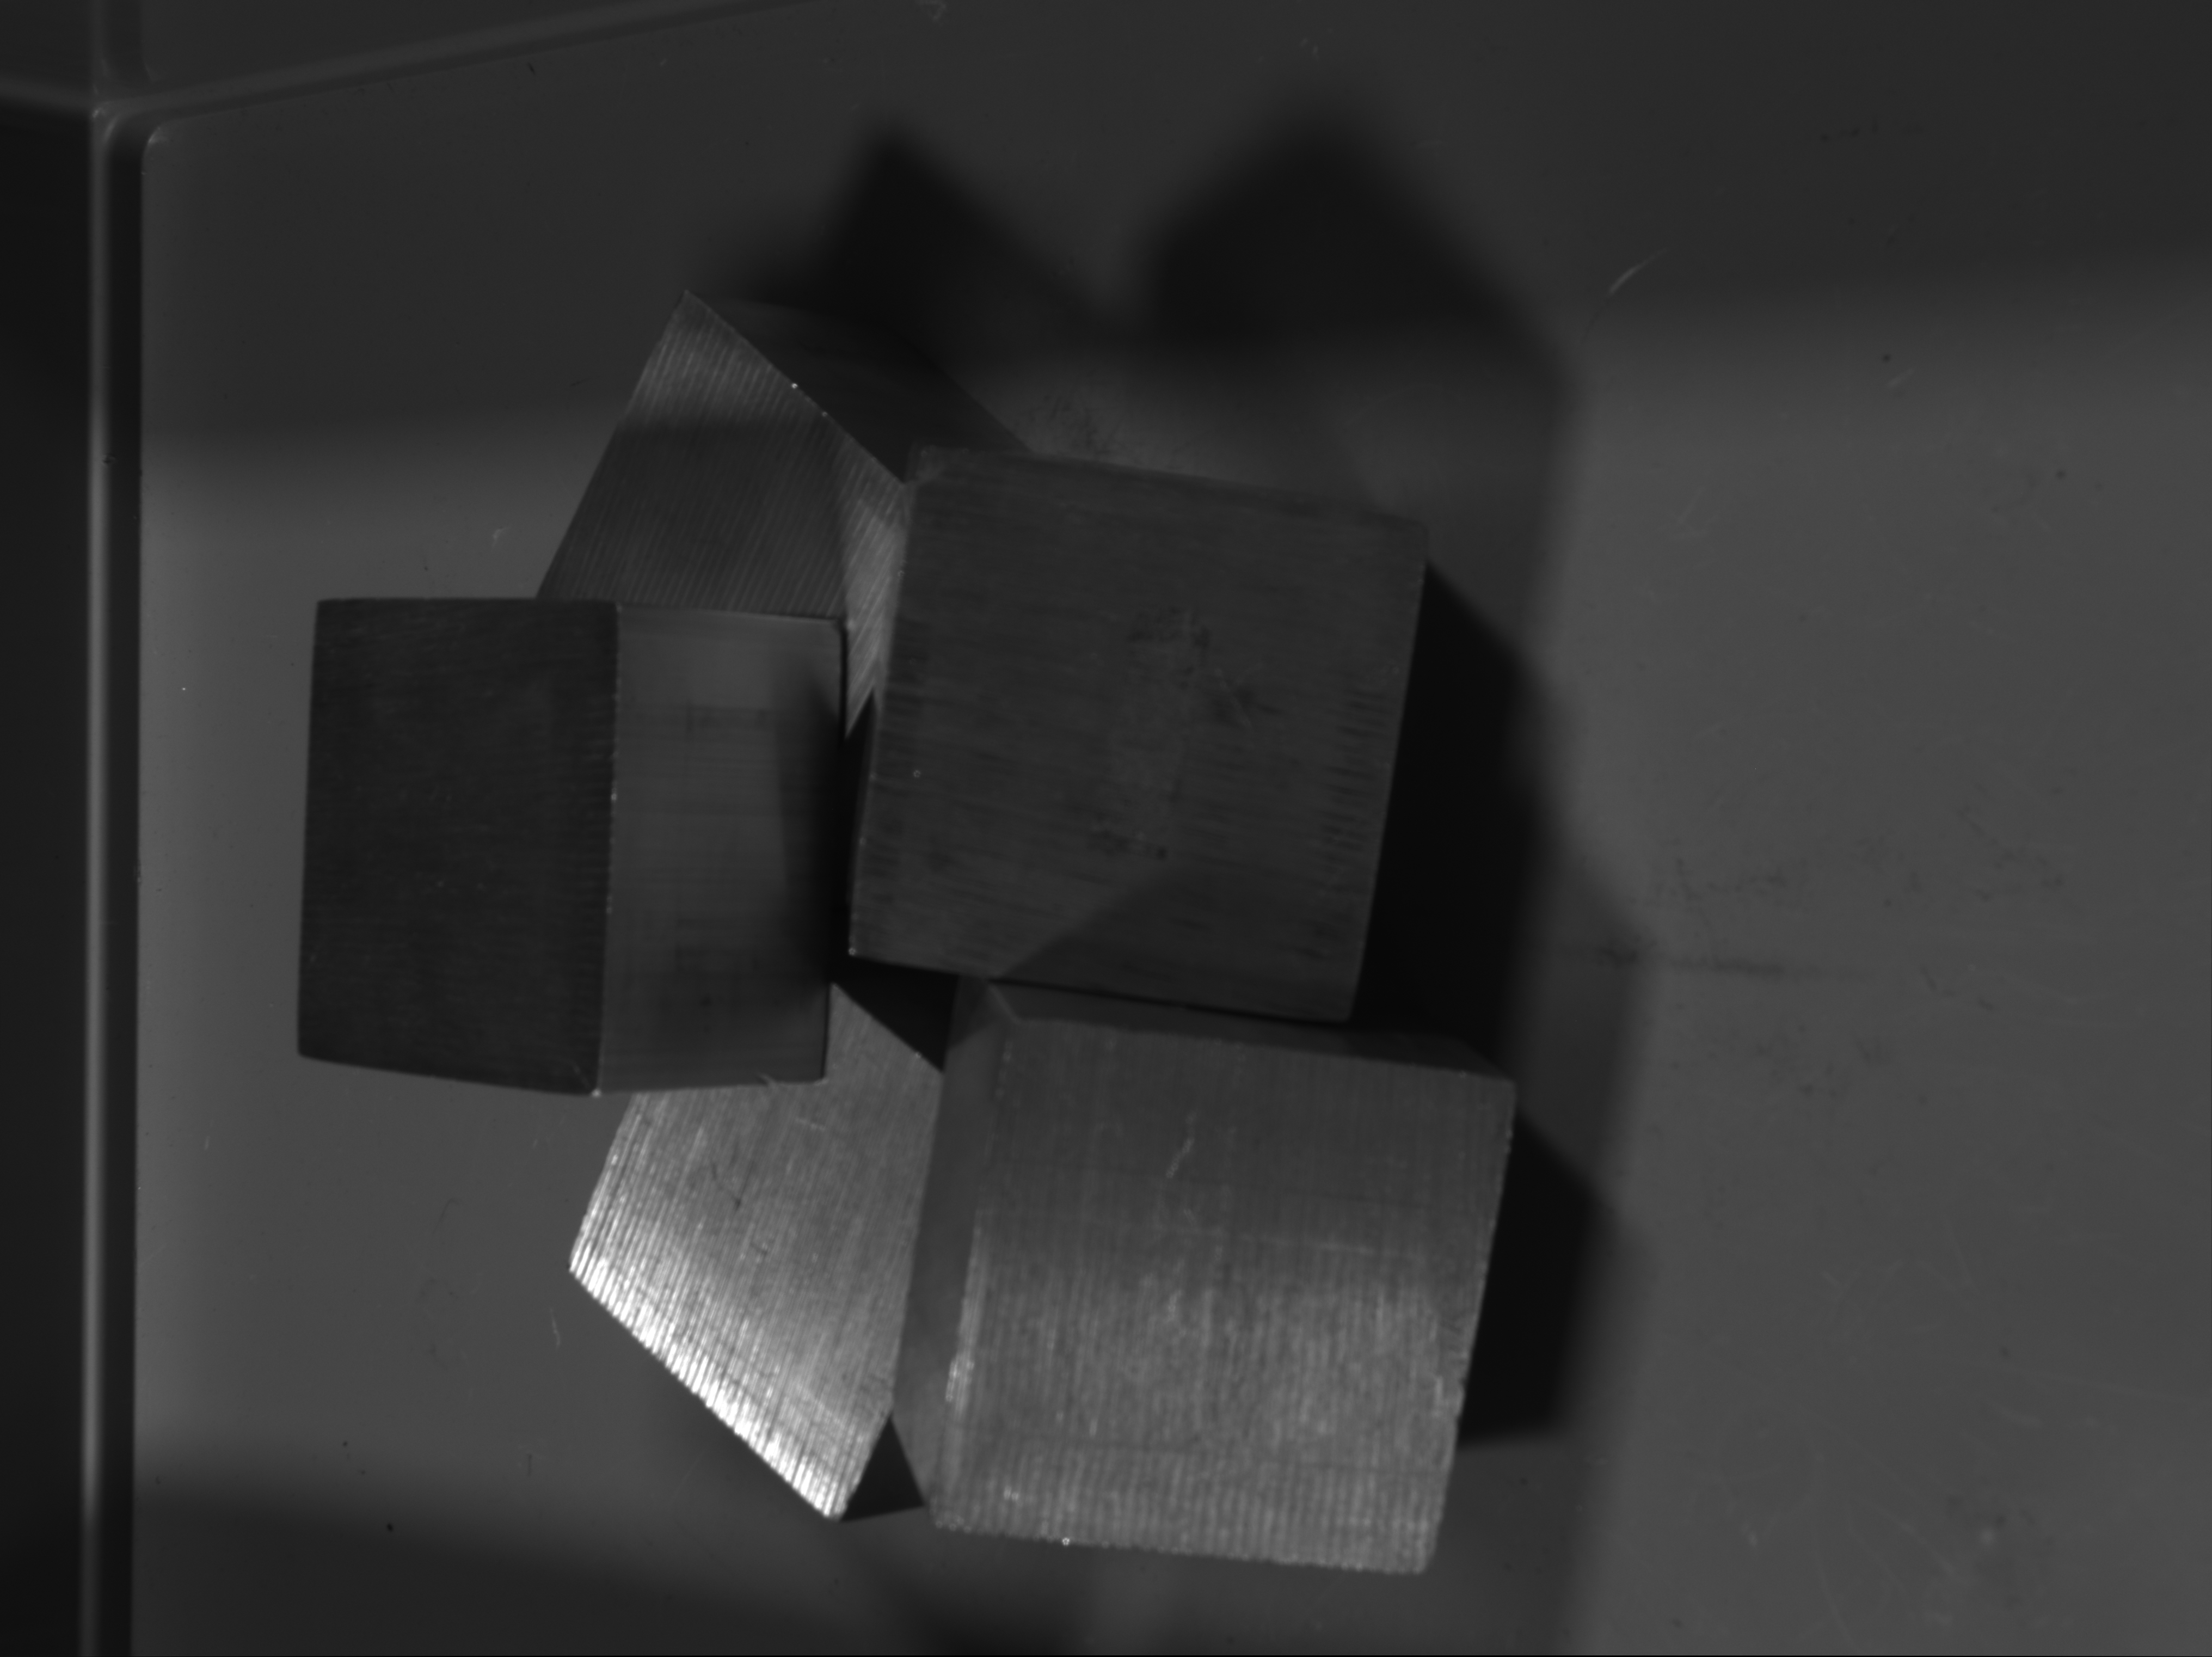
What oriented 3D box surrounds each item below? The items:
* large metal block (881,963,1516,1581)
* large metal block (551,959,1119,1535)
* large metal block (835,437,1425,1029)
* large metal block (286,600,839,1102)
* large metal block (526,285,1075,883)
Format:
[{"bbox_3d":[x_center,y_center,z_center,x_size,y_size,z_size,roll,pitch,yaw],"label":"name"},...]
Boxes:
[{"bbox_3d":[0.013,0.069,0.580,0.050,0.080,0.080,-140,58,-76],"label":"large metal block"},{"bbox_3d":[-0.043,0.065,0.650,0.080,0.050,0.080,36,112,33],"label":"large metal block"},{"bbox_3d":[0.002,-0.017,0.590,0.080,0.050,0.080,8,97,-6],"label":"large metal block"},{"bbox_3d":[-0.094,0.003,0.629,0.080,0.050,0.080,3,91,40],"label":"large metal block"},{"bbox_3d":[-0.053,-0.040,0.663,0.080,0.050,0.080,43,116,31],"label":"large metal block"}]
